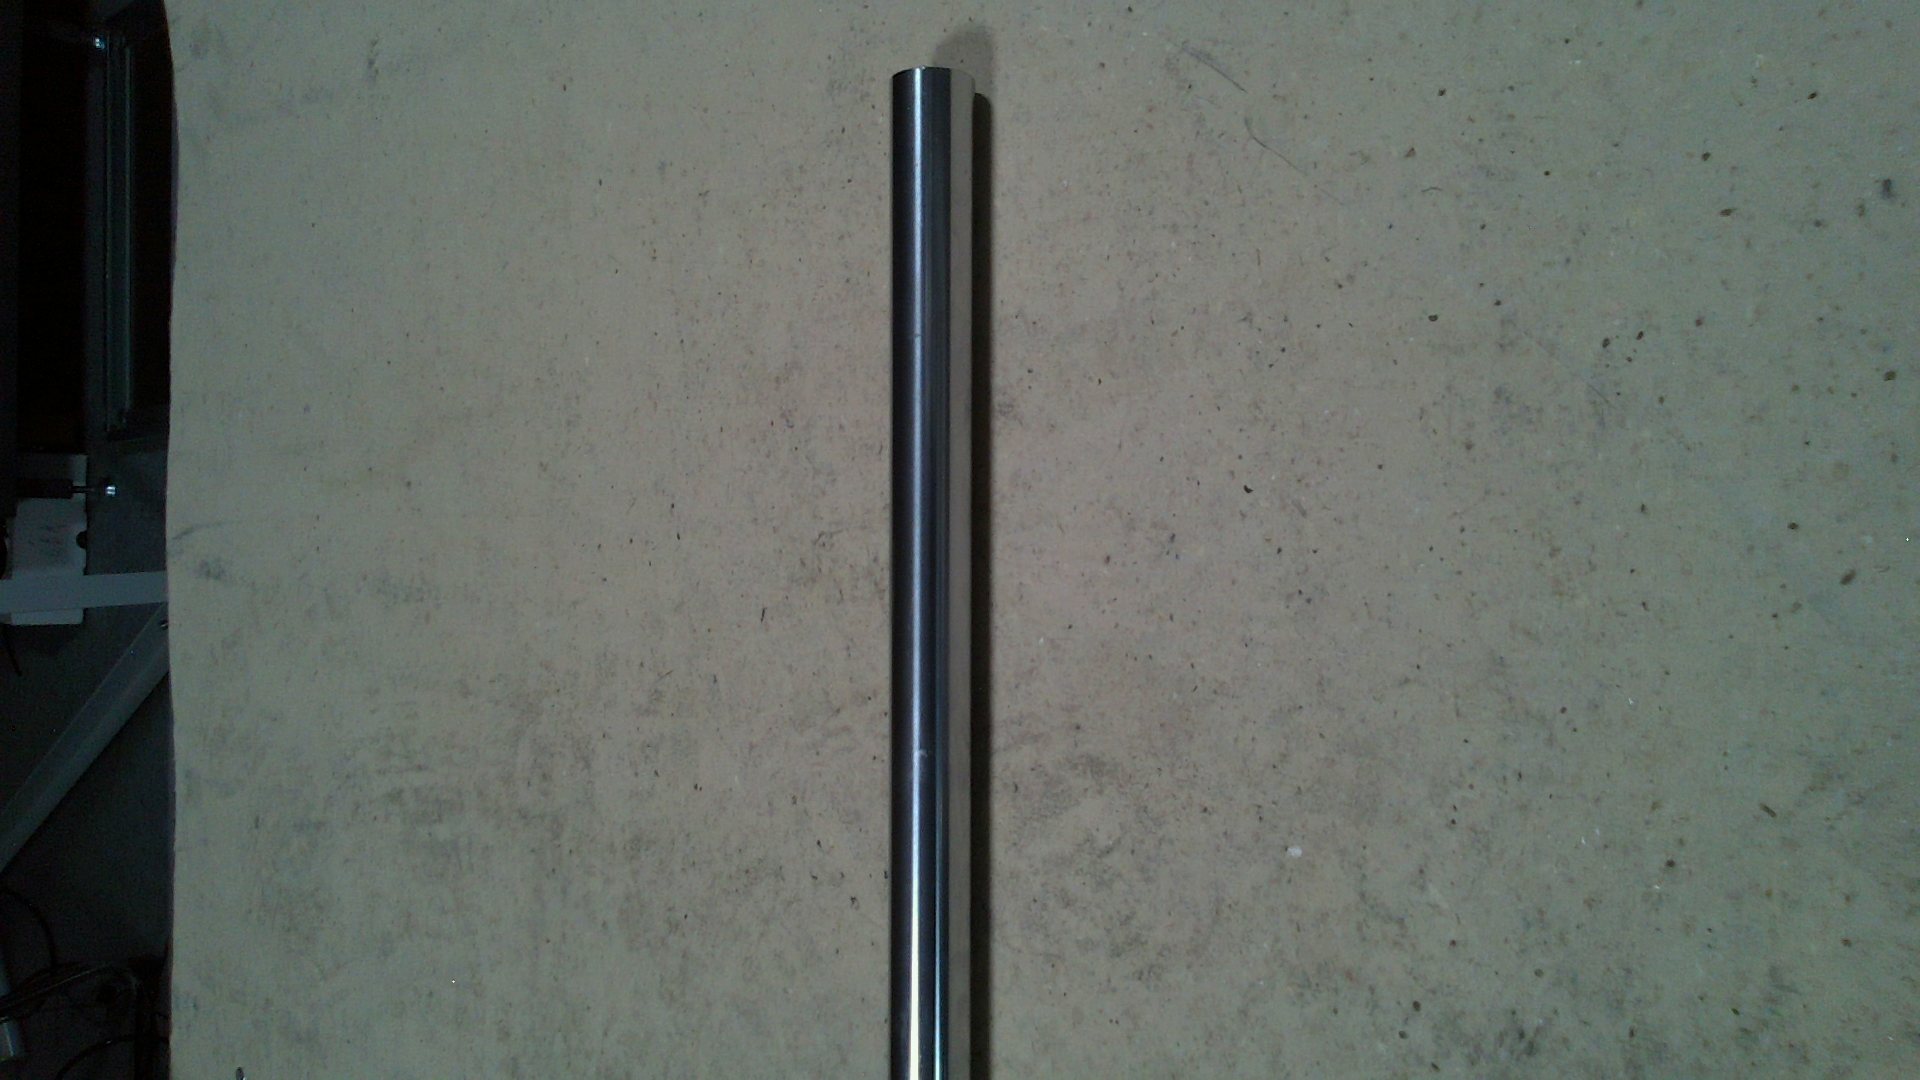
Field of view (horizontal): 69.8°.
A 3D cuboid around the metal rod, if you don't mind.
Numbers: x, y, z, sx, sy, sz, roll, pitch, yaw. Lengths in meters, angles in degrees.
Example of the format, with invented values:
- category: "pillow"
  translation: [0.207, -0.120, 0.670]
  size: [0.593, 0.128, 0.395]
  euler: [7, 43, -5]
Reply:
- category: "metal rod"
  translation: [-0.009, 0.017, 0.402]
  size: [0.025, 0.025, 0.300]
  euler: [0, 90, 40]
